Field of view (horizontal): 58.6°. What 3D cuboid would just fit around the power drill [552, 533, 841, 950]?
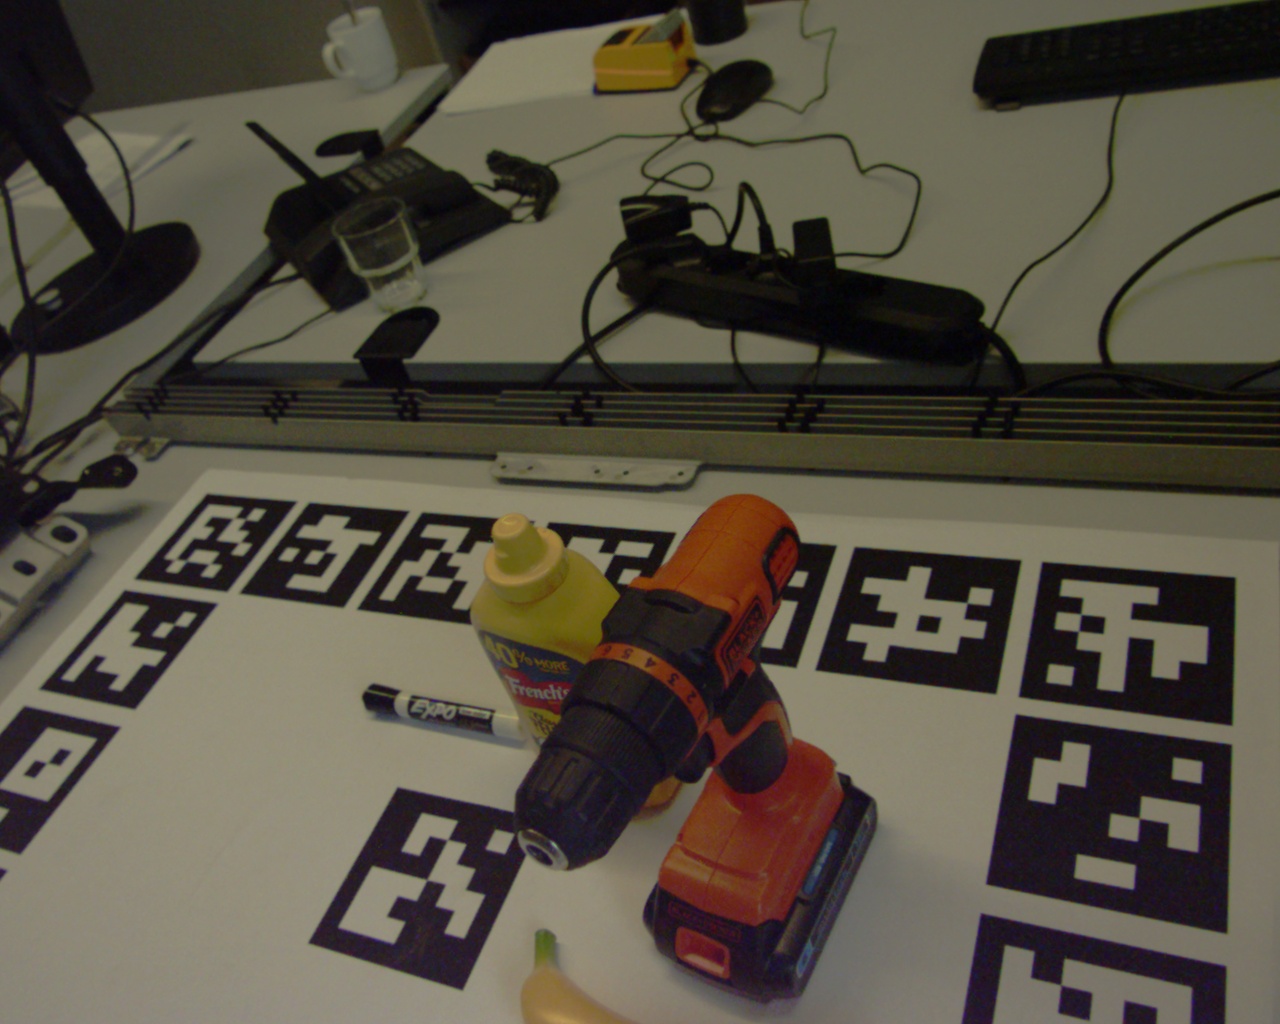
[{"bbox_3d":[0.036,0.127,0.546,0.058,0.185,0.183,17,50,32],"label":"power drill"}]

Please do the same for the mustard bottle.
[{"bbox_3d":[-0.034,0.087,0.643,0.097,0.190,0.058,14,51,31],"label":"mustard bottle"}]

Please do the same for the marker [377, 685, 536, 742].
[{"bbox_3d":[-0.125,0.133,0.759,0.122,0.019,0.019,5,48,27],"label":"marker"}]

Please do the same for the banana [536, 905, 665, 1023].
[{"bbox_3d":[0.022,0.256,0.558,0.200,0.038,0.074,9,51,32],"label":"banana"}]
